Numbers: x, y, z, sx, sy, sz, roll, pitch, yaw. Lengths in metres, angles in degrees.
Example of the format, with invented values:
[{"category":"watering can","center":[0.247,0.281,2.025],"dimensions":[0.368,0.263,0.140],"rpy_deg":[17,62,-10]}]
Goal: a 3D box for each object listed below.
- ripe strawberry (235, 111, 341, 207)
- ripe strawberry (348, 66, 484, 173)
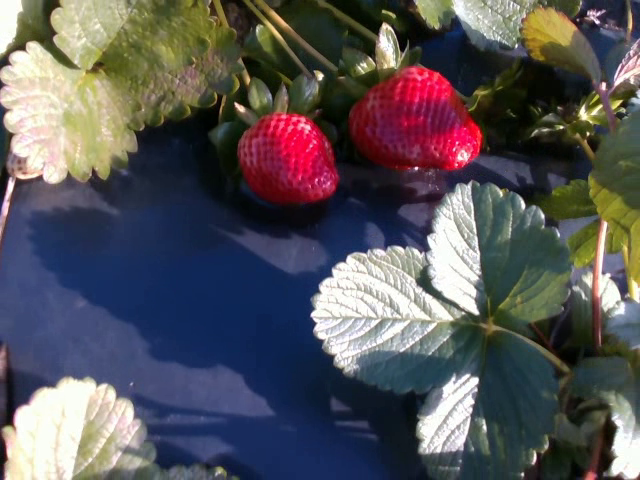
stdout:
[{"category":"ripe strawberry","center":[-0.009,-0.027,0.230],"dimensions":[0.051,0.043,0.036],"rpy_deg":[41,1,36]},{"category":"ripe strawberry","center":[0.042,-0.042,0.245],"dimensions":[0.058,0.052,0.046],"rpy_deg":[48,-2,39]}]
